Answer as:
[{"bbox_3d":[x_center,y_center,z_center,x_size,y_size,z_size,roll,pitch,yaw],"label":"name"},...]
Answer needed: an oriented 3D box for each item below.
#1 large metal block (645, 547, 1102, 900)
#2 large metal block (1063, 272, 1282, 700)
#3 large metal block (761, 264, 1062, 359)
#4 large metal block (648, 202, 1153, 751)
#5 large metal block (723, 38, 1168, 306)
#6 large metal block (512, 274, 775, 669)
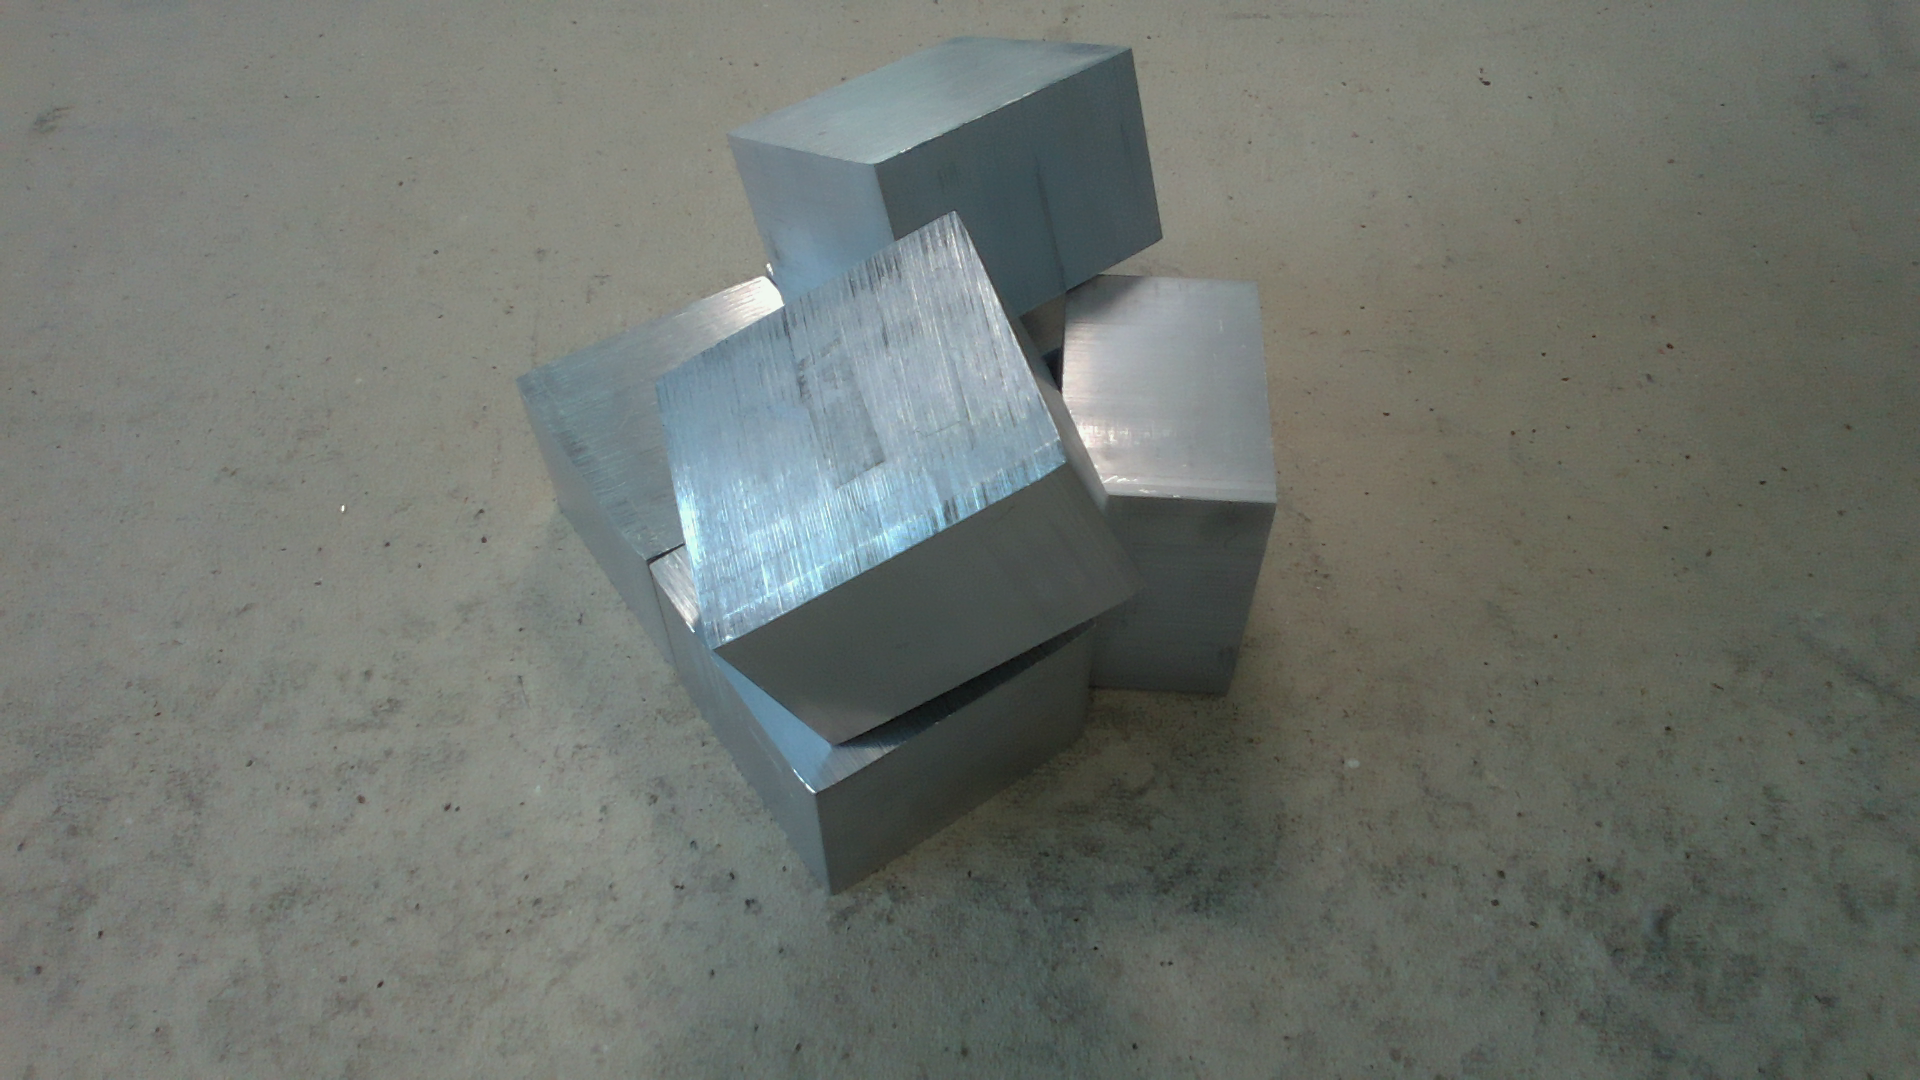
[{"bbox_3d":[-0.022,0.029,0.352,0.080,0.050,0.080,-29,55,-22],"label":"large metal block"},{"bbox_3d":[0.051,-0.014,0.368,0.050,0.080,0.080,3,50,3],"label":"large metal block"},{"bbox_3d":[-0.004,-0.059,0.423,0.080,0.050,0.080,-28,55,-23],"label":"large metal block"},{"bbox_3d":[-0.015,-0.014,0.302,0.080,0.050,0.080,-28,52,9],"label":"large metal block"},{"bbox_3d":[-0.004,-0.096,0.370,0.080,0.050,0.080,-30,33,-23],"label":"large metal block"},{"bbox_3d":[-0.068,-0.021,0.394,0.080,0.050,0.080,-28,56,-22],"label":"large metal block"}]
